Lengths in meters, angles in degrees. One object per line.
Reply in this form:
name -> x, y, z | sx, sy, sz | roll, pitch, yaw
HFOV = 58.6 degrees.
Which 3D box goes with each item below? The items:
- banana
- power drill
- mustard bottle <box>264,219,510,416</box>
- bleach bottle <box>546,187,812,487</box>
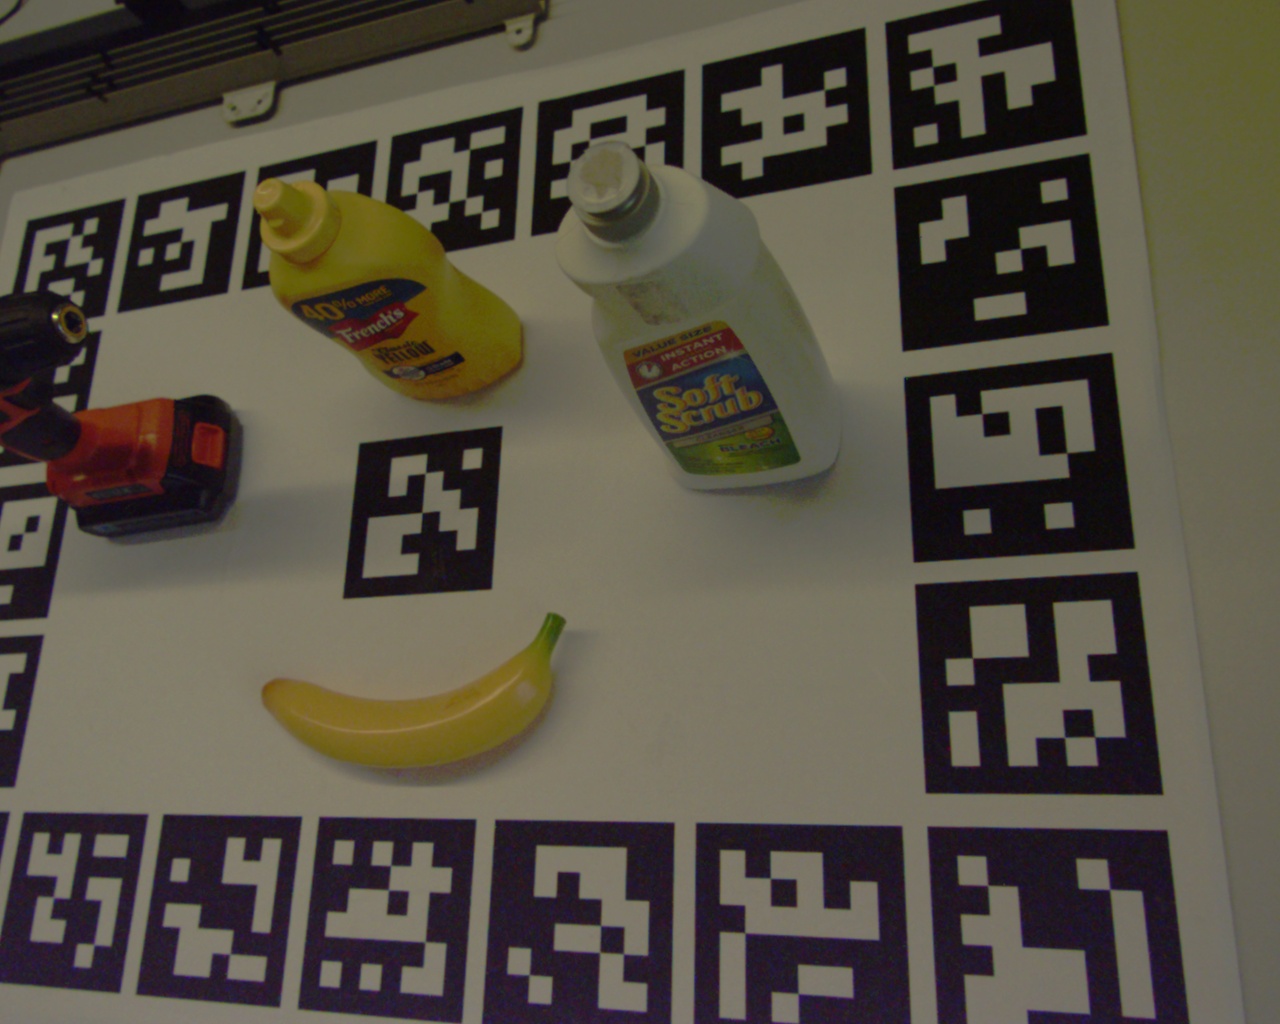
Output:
banana -> -0.140, 0.106, 0.664 | 0.199, 0.038, 0.074 | -11, 72, 21
power drill -> -0.344, -0.064, 0.692 | 0.186, 0.185, 0.057 | -12, 70, 22
mustard bottle -> -0.155, -0.116, 0.667 | 0.097, 0.189, 0.058 | -12, 70, 15
bleach bottle -> 0.013, -0.079, 0.553 | 0.103, 0.248, 0.068 | 4, 75, 21
